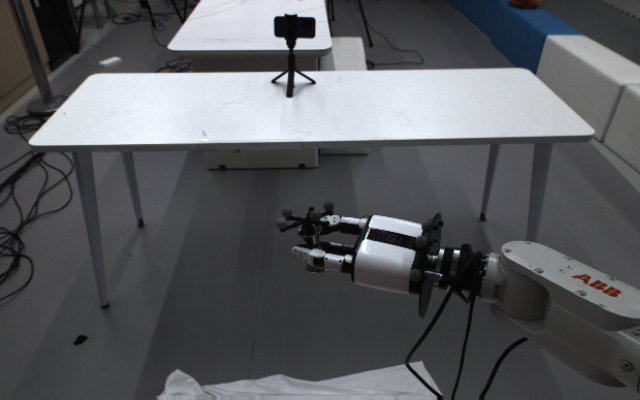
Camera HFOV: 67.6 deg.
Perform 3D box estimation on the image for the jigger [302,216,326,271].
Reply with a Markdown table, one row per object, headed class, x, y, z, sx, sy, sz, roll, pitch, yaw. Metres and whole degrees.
| class | x | y | z | sx | sy | sz | roll | pitch | yaw |
| --- | --- | --- | --- | --- | --- | --- | --- | --- | --- |
| jigger | -0.009 | 0.077 | 0.778 | 0.043 | 0.071 | 0.043 | -12 | 24 | 5 |
